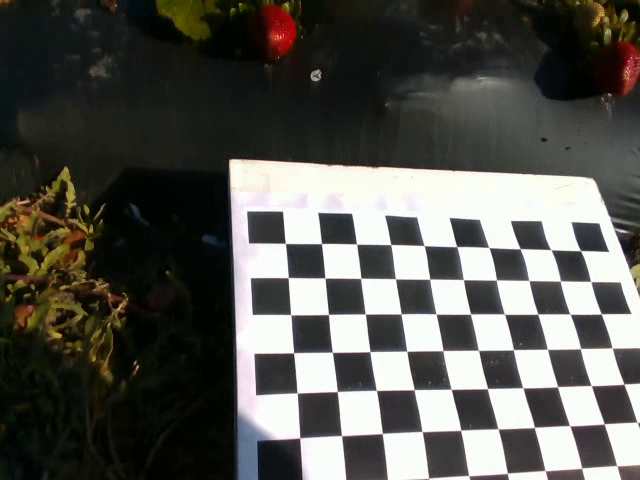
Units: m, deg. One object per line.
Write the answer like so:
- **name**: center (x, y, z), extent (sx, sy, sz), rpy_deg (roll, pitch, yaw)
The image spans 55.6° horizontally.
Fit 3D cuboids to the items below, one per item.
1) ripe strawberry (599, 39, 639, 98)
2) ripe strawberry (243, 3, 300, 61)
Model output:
- **ripe strawberry**: center (0.229, -0.129, 0.468), extent (0.042, 0.059, 0.042), rpy_deg (22, -42, -6)
- **ripe strawberry**: center (-0.035, -0.153, 0.453), extent (0.045, 0.042, 0.055), rpy_deg (10, 29, -13)
